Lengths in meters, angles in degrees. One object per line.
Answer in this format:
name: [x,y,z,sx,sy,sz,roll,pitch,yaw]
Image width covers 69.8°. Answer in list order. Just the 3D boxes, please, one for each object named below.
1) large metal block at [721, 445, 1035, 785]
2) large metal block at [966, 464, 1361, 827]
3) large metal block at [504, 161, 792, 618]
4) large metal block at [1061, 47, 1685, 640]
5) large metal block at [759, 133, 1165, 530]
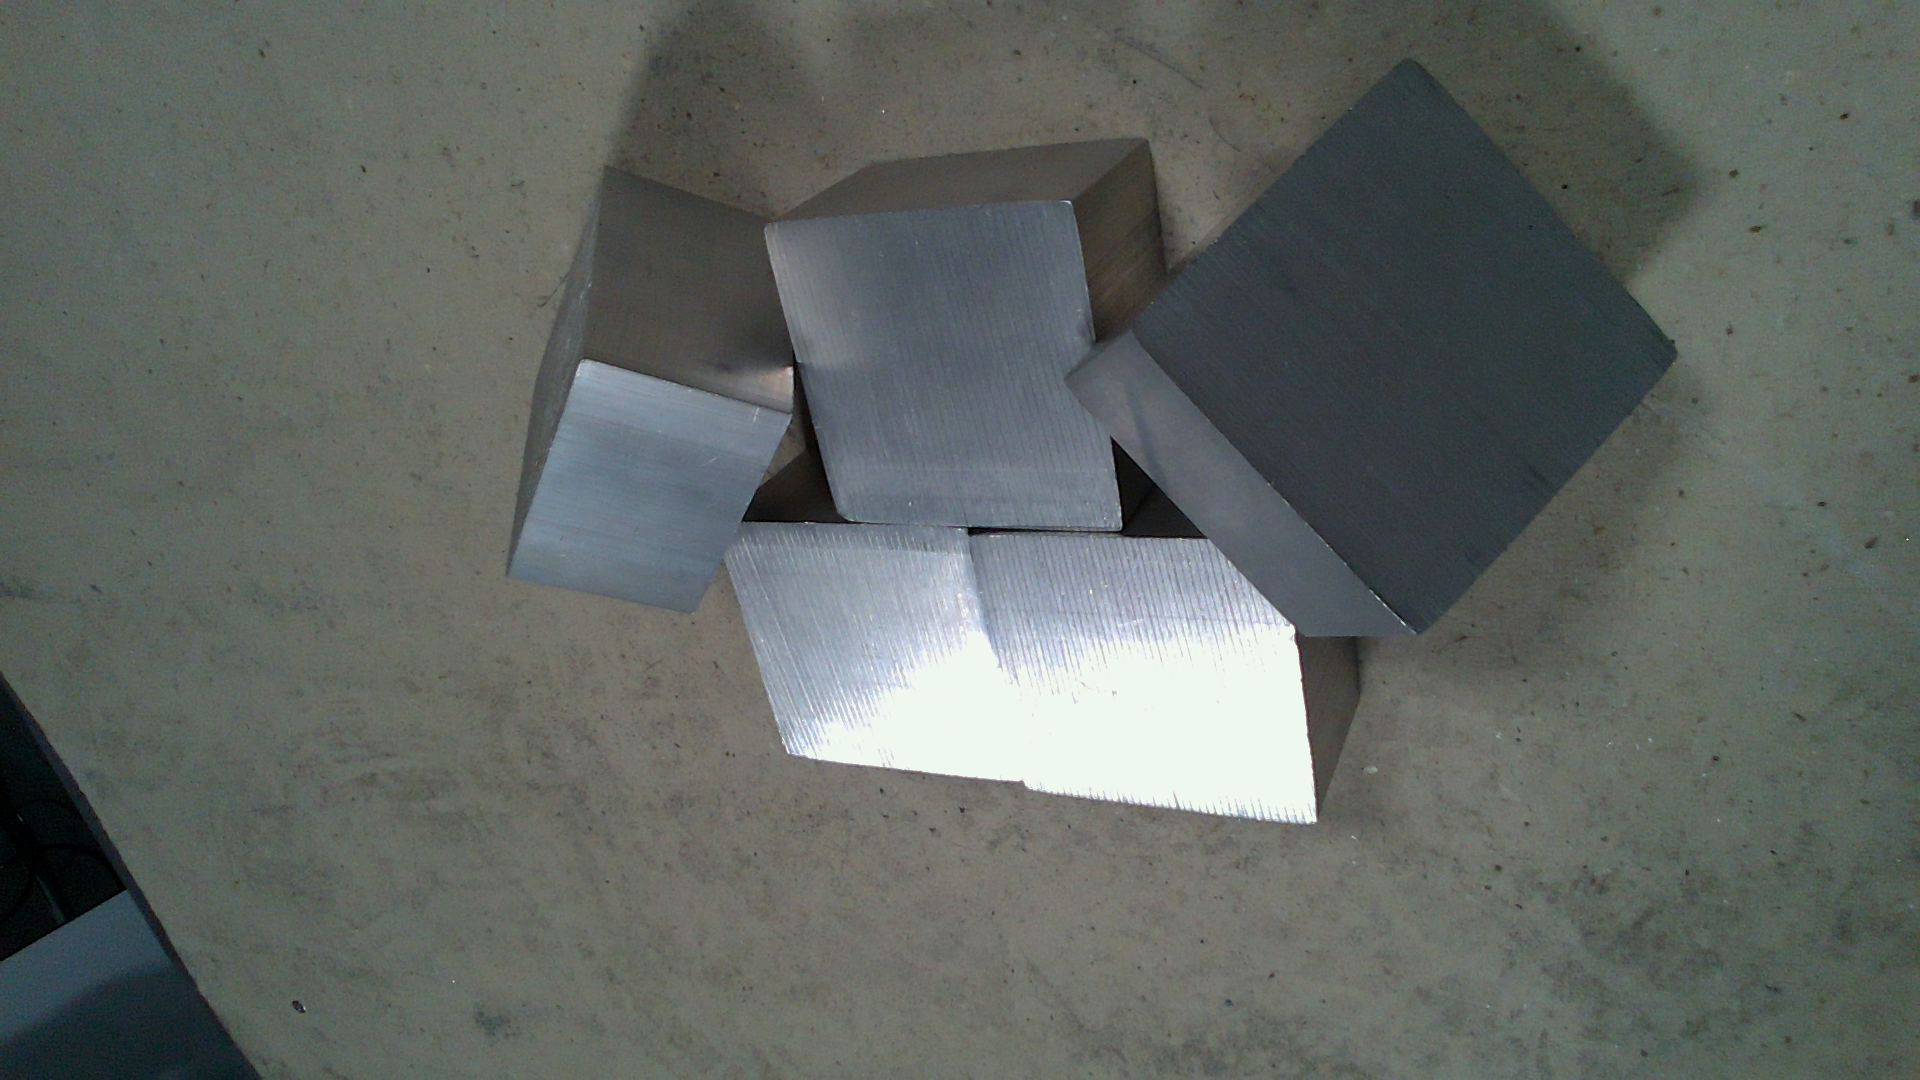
large metal block: [-0.015,0.019,0.396,0.080,0.050,0.080,1,119,28]
large metal block: [0.056,0.023,0.359,0.080,0.050,0.080,1,119,28]
large metal block: [-0.083,-0.039,0.369,0.050,0.080,0.080,14,133,-22]
large metal block: [0.082,-0.036,0.283,0.080,0.080,0.050,46,170,-4]
large metal block: [0.006,-0.051,0.342,0.080,0.050,0.080,3,120,27]
